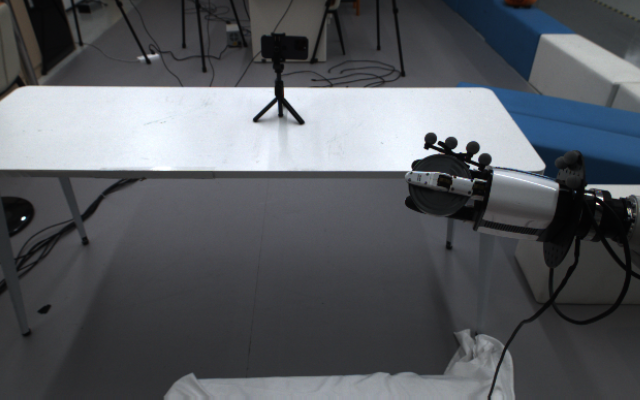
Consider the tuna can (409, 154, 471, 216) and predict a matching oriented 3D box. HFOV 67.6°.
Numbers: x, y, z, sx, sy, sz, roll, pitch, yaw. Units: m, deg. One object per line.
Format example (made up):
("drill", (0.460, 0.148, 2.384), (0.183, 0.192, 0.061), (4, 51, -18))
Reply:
("tuna can", (0.170, -0.020, 0.678), (0.085, 0.085, 0.034), (14, -7, 16))
